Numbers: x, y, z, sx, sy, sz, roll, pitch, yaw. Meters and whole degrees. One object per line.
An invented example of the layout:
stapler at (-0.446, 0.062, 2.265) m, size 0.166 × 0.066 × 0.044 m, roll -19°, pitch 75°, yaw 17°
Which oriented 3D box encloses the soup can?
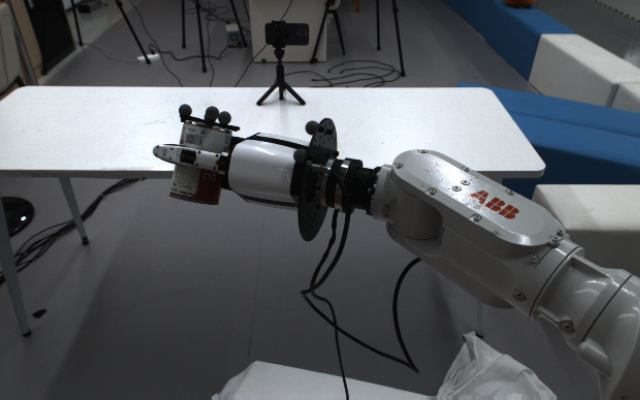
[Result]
soup can at (-0.160, -0.048, 0.653) m, size 0.067 × 0.101 × 0.067 m, roll 12°, pitch 2°, yaw 0°
